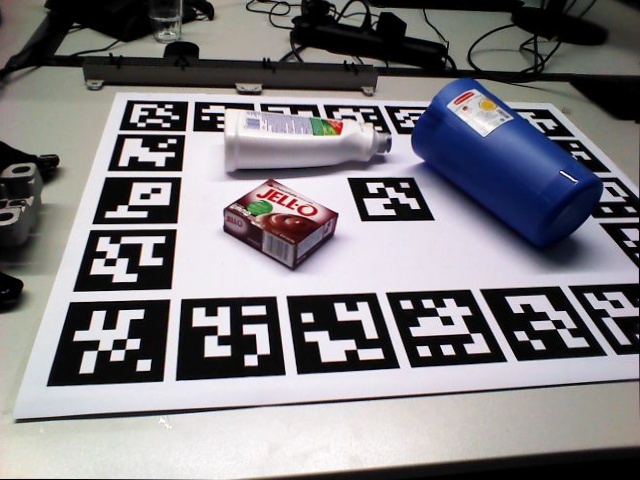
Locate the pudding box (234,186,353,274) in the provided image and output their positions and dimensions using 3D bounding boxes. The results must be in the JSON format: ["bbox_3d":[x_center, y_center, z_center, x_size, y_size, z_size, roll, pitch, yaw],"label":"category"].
[{"bbox_3d":[-0.032,-0.016,0.621,0.114,0.039,0.089,32,41,23],"label":"pudding box"}]

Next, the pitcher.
[{"bbox_3d":[0.278,-0.080,0.703,0.188,0.134,0.242,14,32,-50],"label":"pitcher"}]

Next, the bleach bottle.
[{"bbox_3d":[0.006,-0.137,0.753,0.250,0.068,0.102,-1,46,-12],"label":"bleach bottle"}]
